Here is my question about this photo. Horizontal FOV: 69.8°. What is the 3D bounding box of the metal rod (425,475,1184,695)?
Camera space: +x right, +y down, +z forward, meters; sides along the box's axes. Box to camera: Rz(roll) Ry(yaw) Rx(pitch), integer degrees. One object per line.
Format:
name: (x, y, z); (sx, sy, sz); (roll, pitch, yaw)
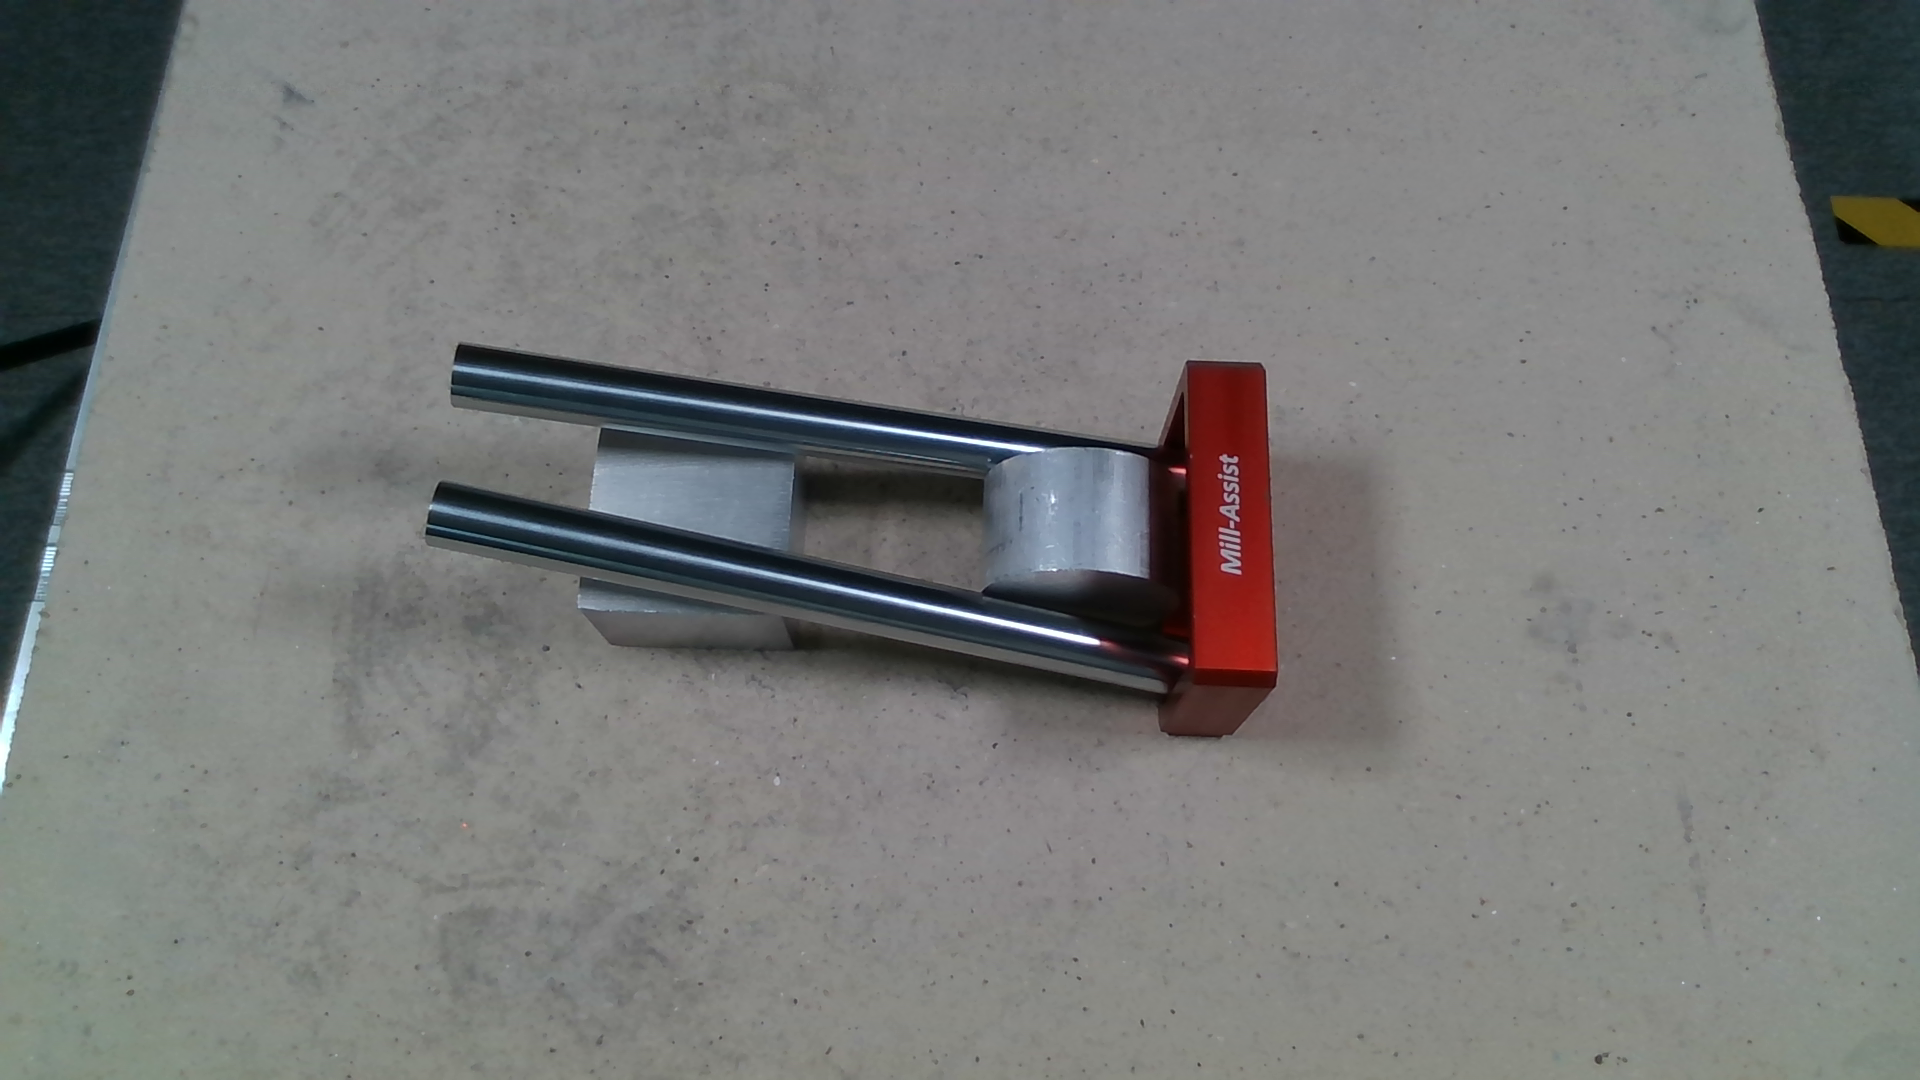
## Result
metal rod: (-0.048, 0.021, 0.531); (0.300, 0.025, 0.025); (13, 70, -11)

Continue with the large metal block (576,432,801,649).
large metal block: (-0.109, -0.001, 0.573); (0.080, 0.050, 0.080); (2, 70, 1)

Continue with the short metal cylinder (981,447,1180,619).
short metal cylinder: (0.048, 0.001, 0.559); (0.080, 0.080, 0.050); (2, 71, 1)

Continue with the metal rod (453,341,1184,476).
metal rod: (-0.045, -0.045, 0.556); (0.300, 0.025, 0.025); (7, 70, -14)

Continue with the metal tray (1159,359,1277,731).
metal tray: (0.100, 0.005, 0.552); (0.030, 0.090, 0.130); (2, 70, 1)
